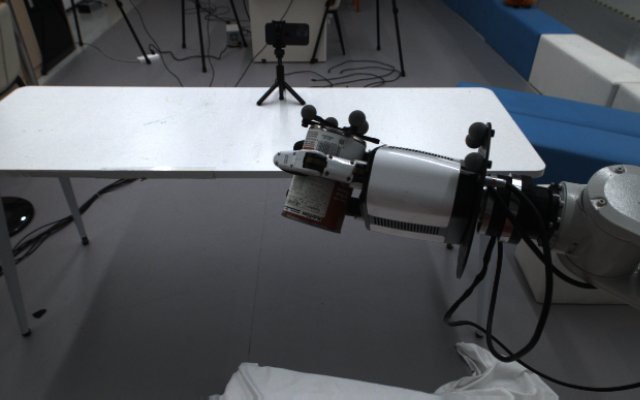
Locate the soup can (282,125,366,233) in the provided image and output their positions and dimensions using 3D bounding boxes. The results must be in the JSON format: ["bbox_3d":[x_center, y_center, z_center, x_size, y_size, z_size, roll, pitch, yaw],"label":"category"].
[{"bbox_3d":[0.006,-0.021,0.525,0.067,0.101,0.067,17,-1,0],"label":"soup can"}]
